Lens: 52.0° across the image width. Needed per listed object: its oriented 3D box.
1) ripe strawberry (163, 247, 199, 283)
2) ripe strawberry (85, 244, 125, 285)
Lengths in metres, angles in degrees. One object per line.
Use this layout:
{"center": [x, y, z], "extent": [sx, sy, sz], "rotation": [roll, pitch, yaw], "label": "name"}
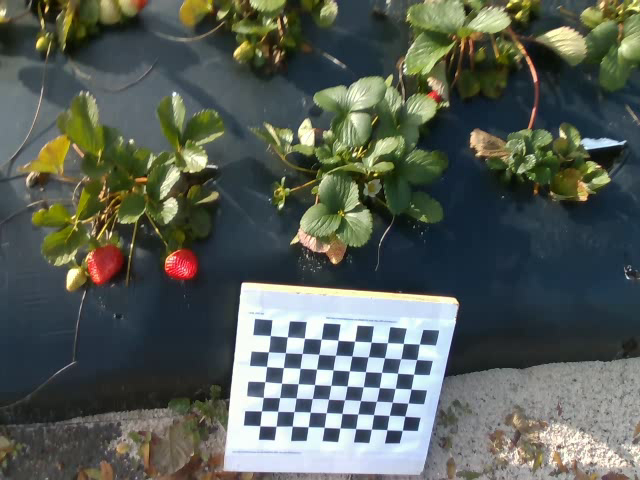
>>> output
{"center": [-0.125, 0.025, 0.600], "extent": [0.033, 0.038, 0.039], "rotation": [7, 30, -29], "label": "ripe strawberry"}
{"center": [-0.194, 0.023, 0.588], "extent": [0.035, 0.041, 0.036], "rotation": [-8, 44, 0], "label": "ripe strawberry"}
